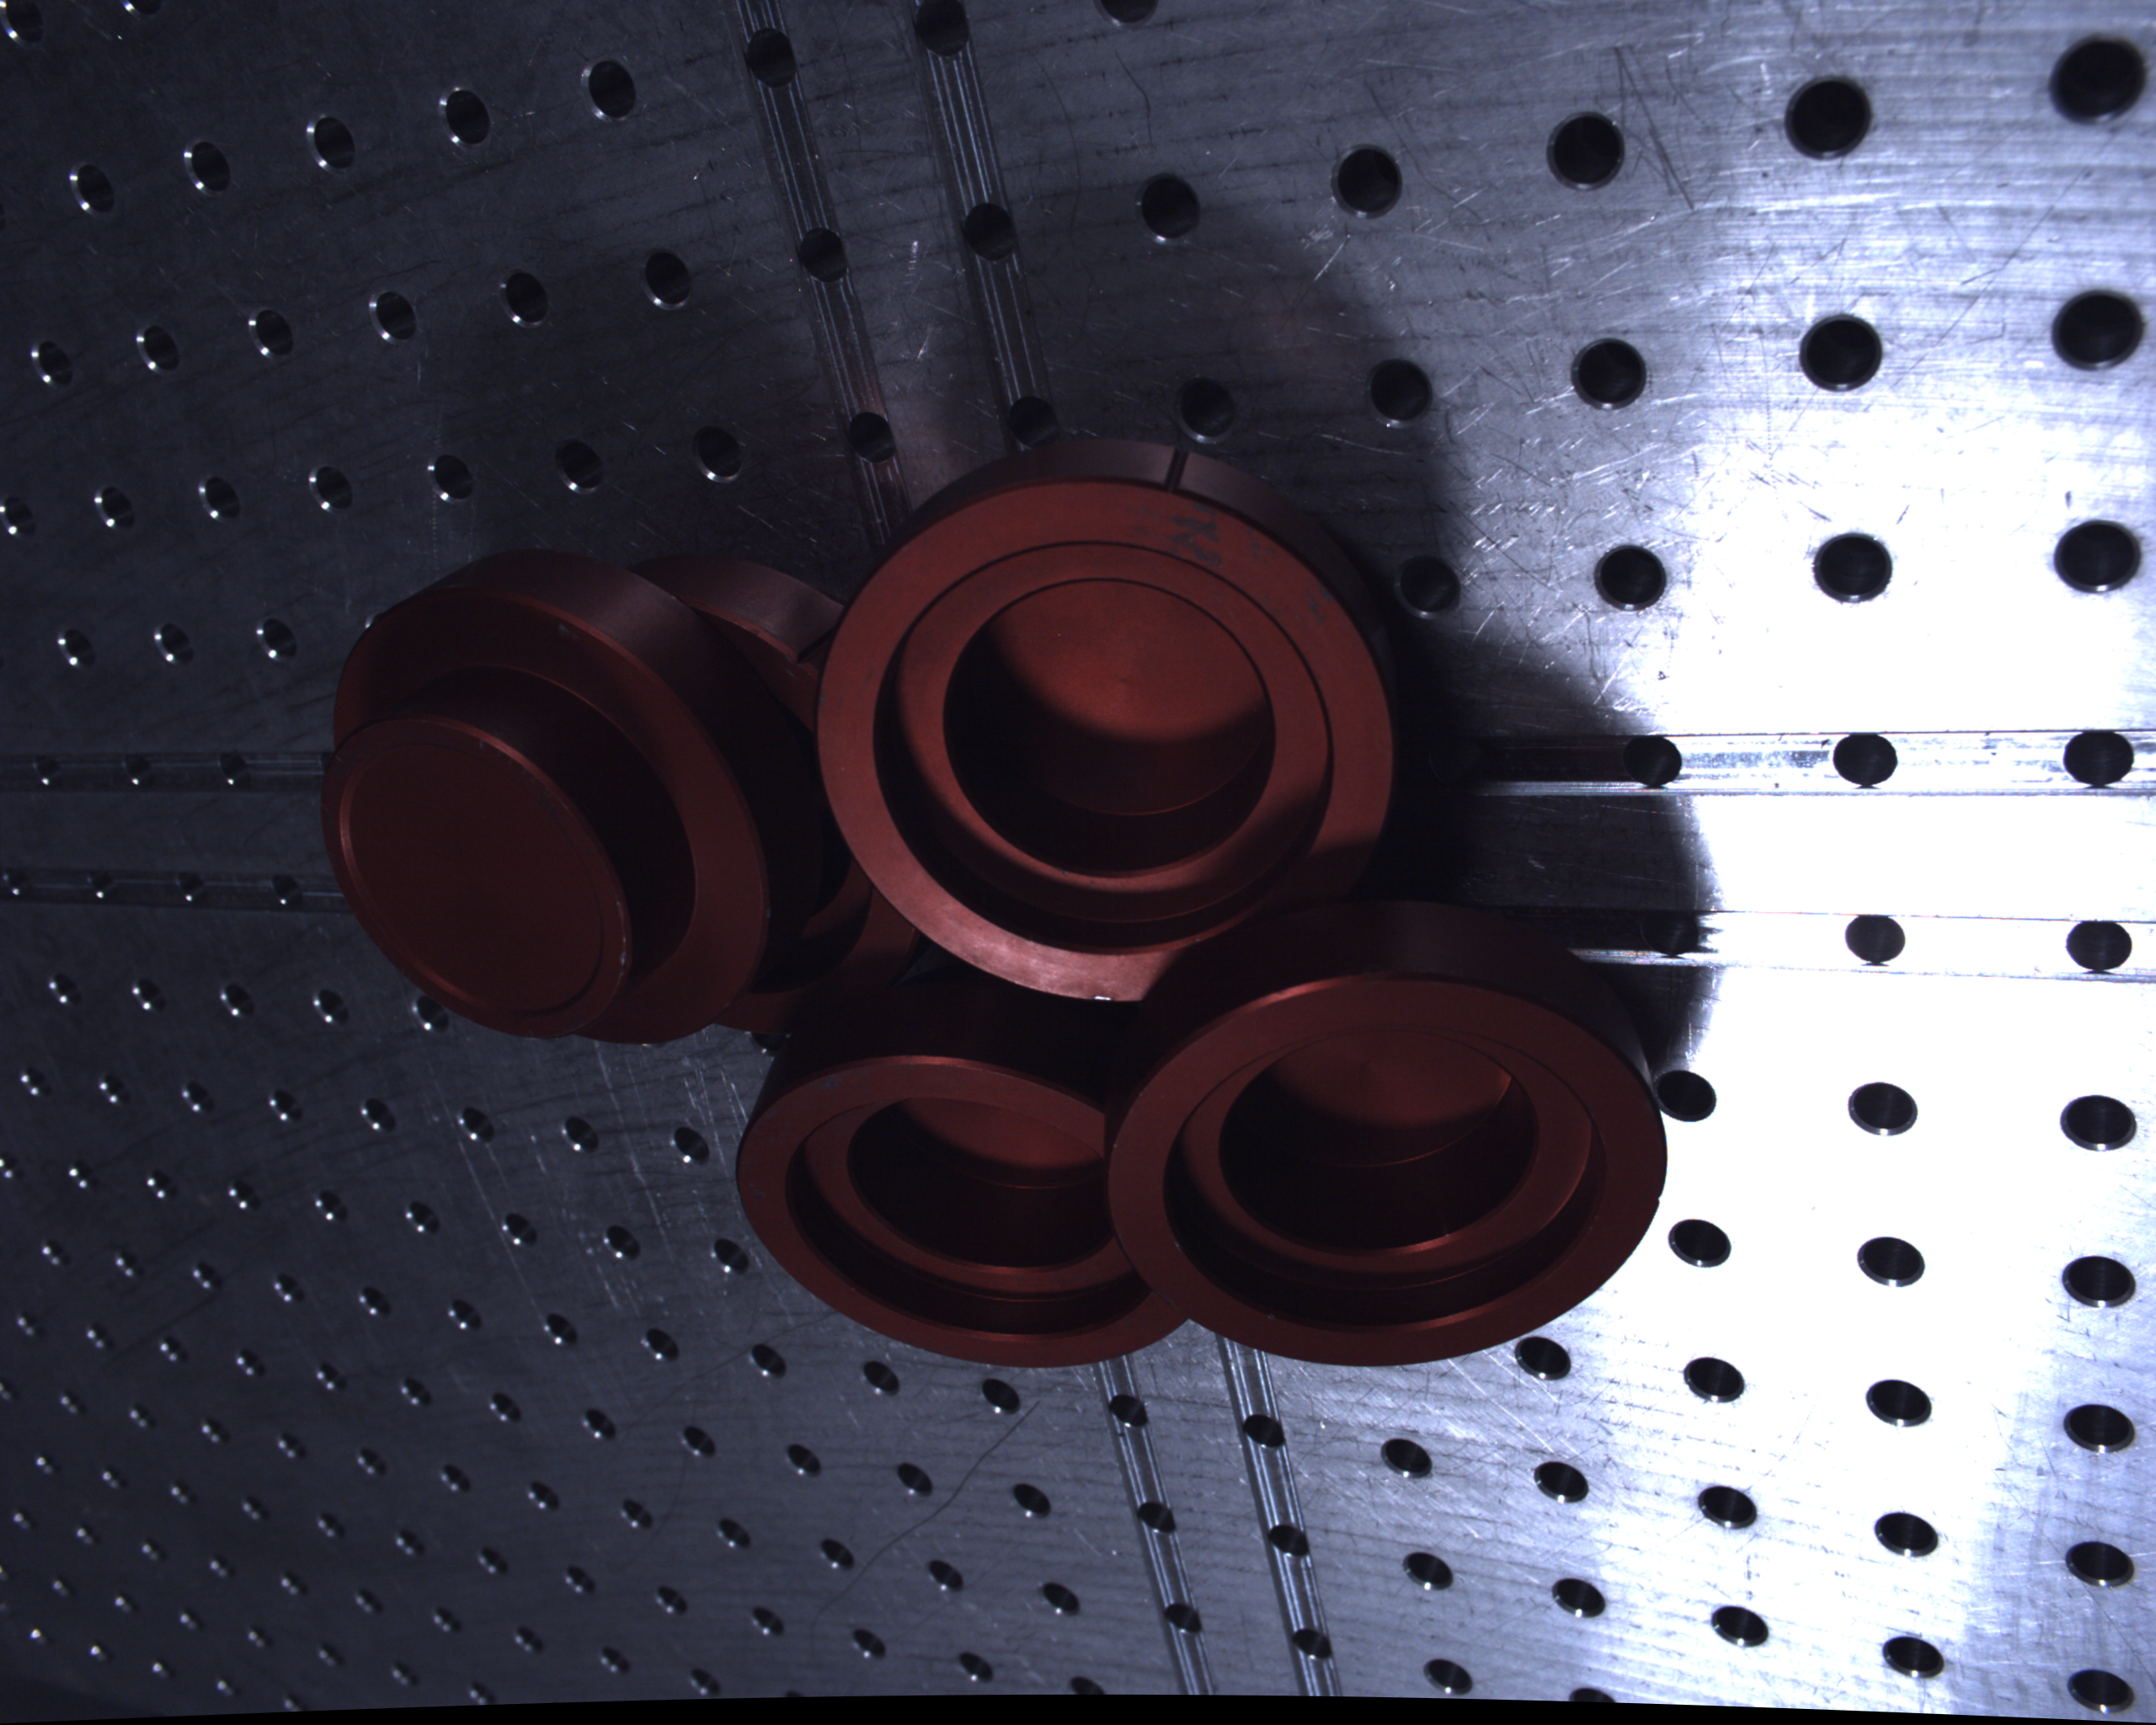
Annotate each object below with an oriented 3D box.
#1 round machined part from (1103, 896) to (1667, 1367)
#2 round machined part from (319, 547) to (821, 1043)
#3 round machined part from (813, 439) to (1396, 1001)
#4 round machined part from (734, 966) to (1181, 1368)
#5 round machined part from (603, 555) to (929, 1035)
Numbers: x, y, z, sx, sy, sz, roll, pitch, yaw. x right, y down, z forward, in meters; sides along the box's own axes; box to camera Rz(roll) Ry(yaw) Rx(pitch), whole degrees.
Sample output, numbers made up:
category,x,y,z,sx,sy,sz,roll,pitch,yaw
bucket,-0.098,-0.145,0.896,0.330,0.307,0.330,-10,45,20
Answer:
category,x,y,z,sx,sy,sz,roll,pitch,yaw
round machined part,0.054,0.045,0.383,0.099,0.042,0.097,1,127,1
round machined part,-0.102,-0.006,0.393,0.098,0.042,0.097,13,124,20
round machined part,0.006,-0.027,0.367,0.099,0.042,0.097,4,119,7
round machined part,-0.018,0.059,0.433,0.099,0.042,0.097,7,133,8
round machined part,-0.065,-0.017,0.422,0.098,0.042,0.097,13,124,20
